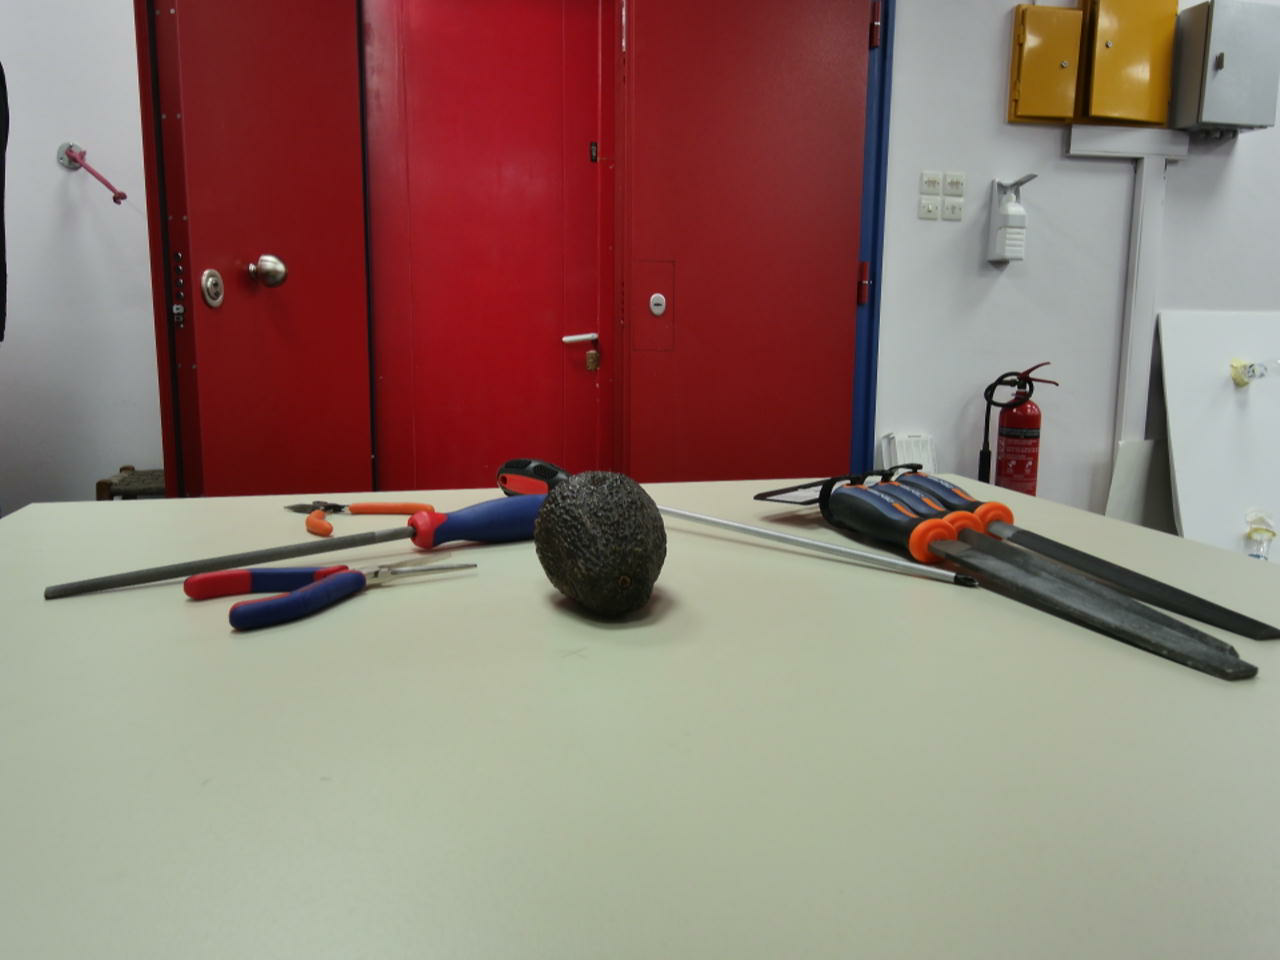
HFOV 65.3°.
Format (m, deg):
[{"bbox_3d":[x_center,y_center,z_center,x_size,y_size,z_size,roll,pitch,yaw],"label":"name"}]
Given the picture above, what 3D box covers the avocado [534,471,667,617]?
[{"bbox_3d":[-0.022,0.031,0.519,0.070,0.069,0.090,3,7,12],"label":"avocado"}]
